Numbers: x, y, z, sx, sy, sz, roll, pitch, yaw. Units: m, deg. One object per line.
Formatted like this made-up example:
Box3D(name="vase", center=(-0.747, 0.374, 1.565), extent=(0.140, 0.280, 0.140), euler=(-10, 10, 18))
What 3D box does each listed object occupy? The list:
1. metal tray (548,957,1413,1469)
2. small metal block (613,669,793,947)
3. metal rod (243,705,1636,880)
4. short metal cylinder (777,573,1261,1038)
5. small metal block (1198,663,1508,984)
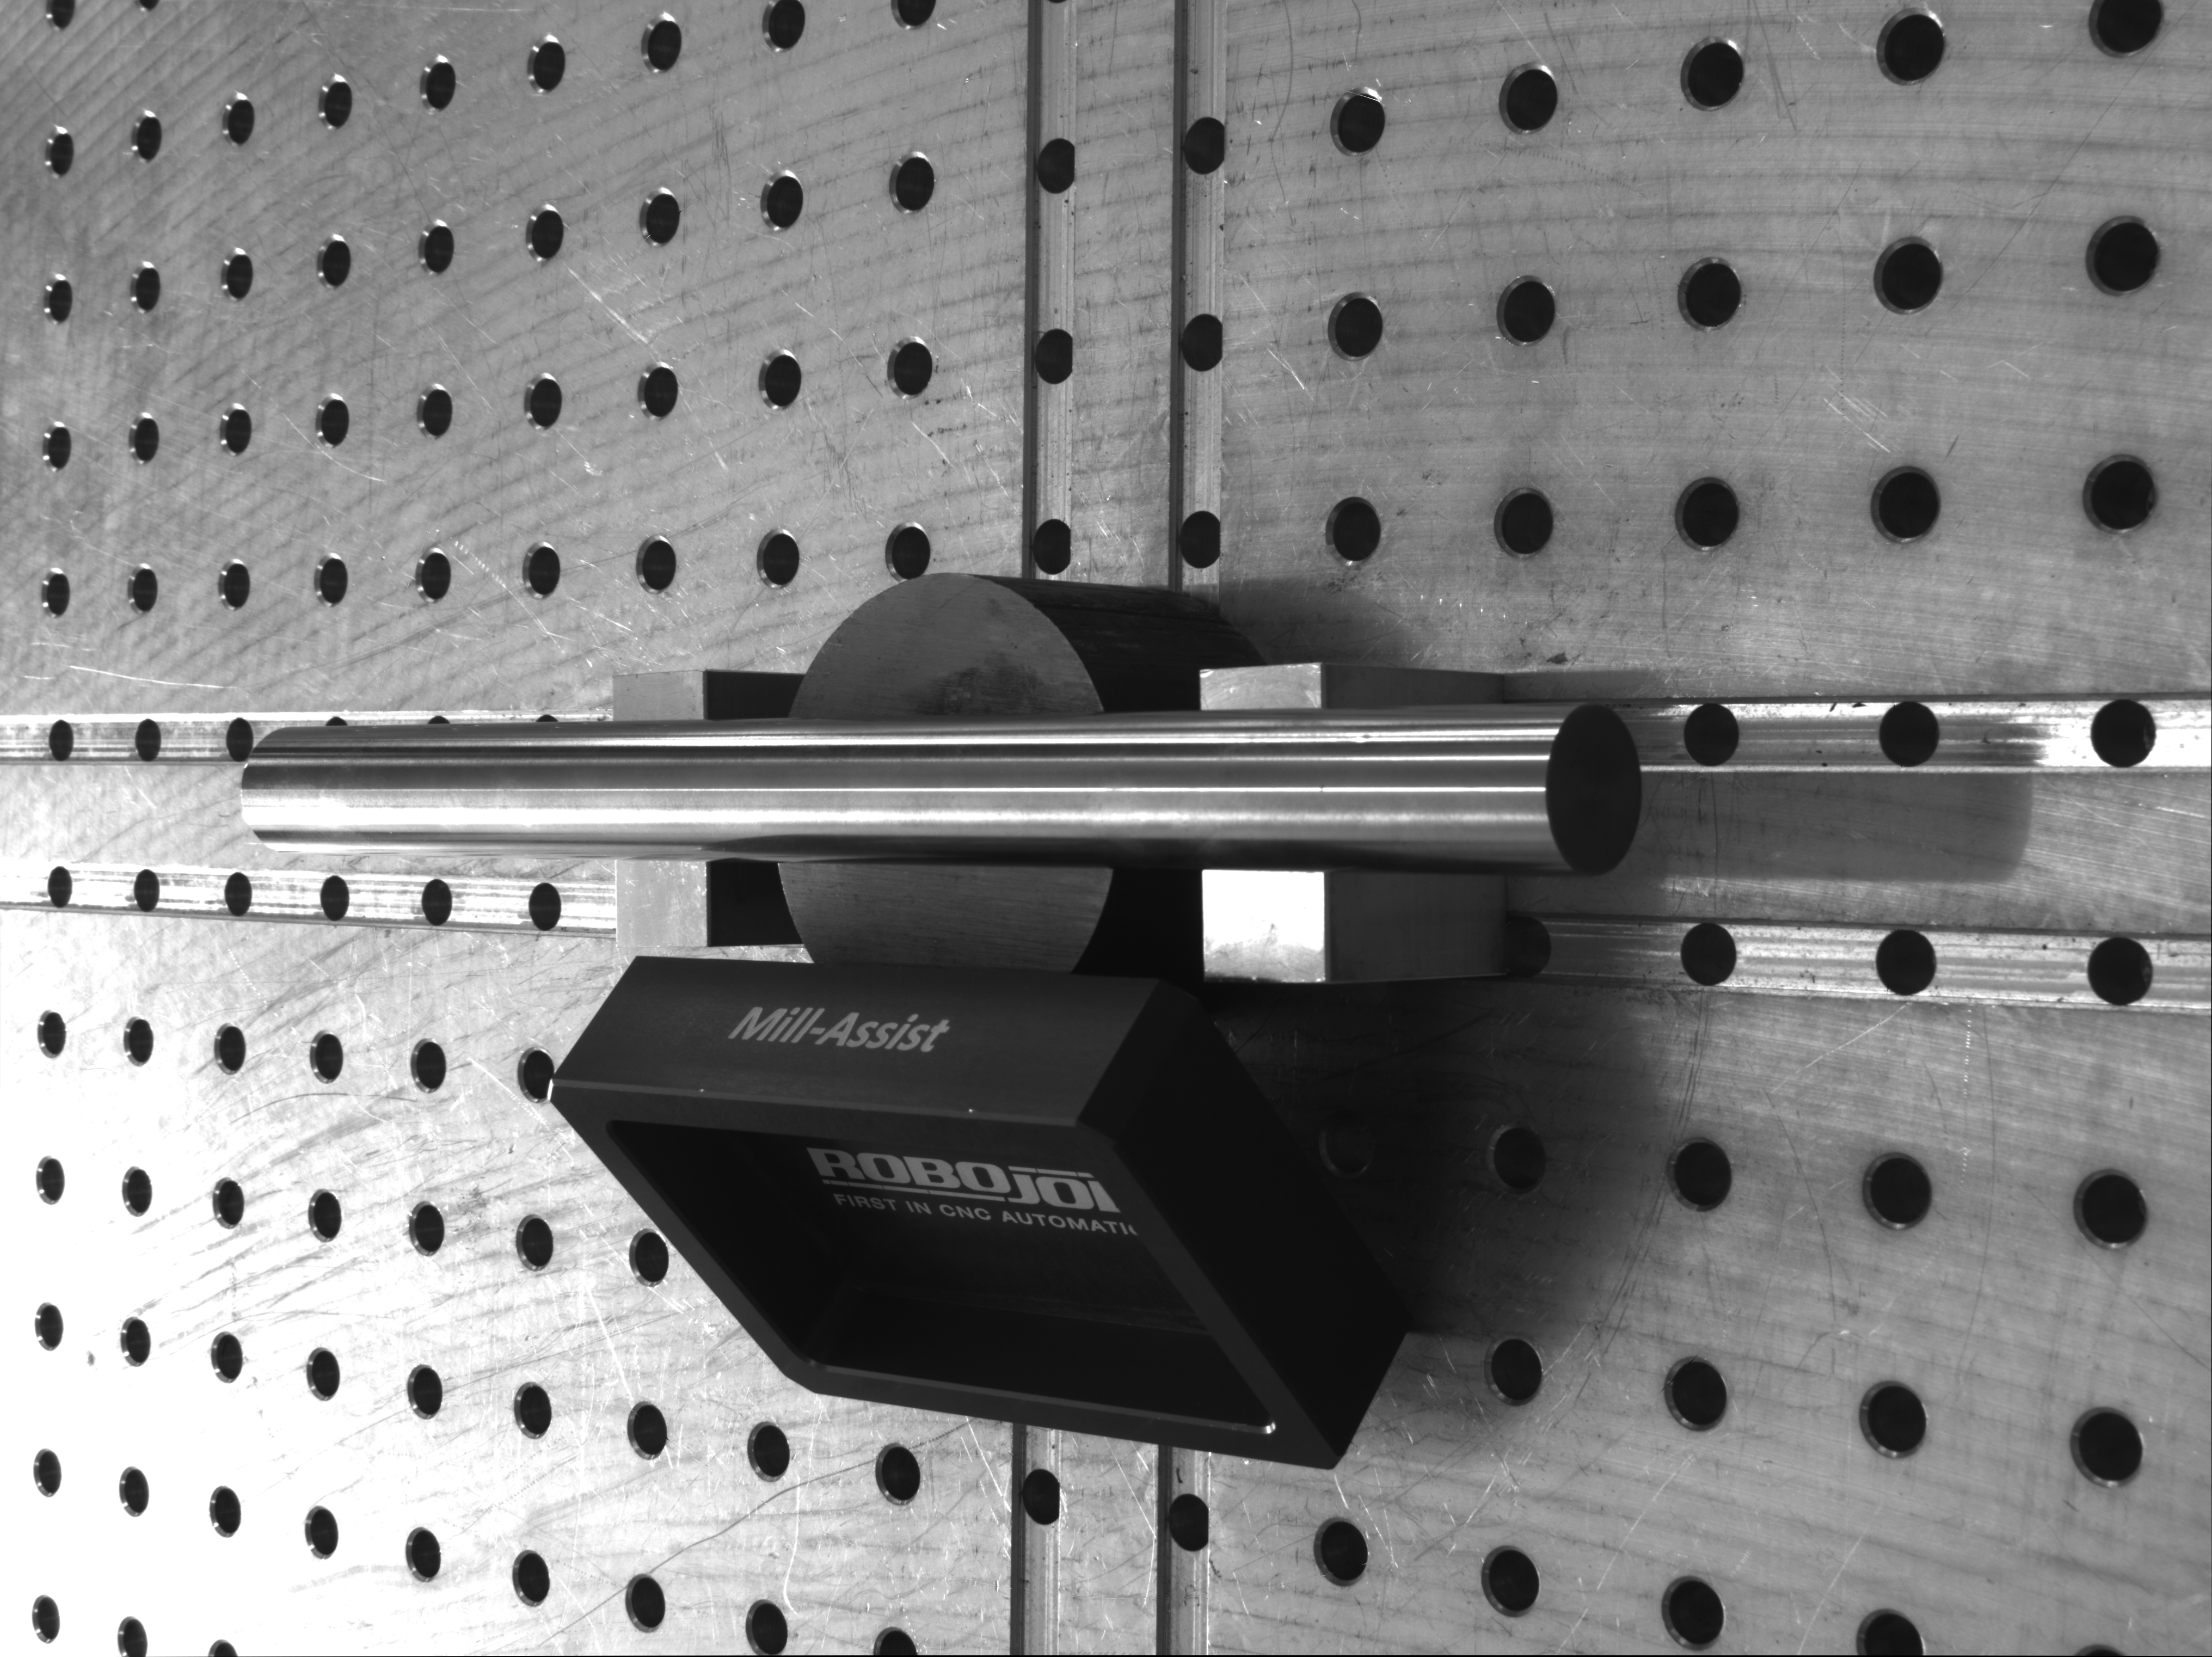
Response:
Box3D(name="metal tray", center=(-0.023, 0.064, 0.628), extent=(0.129, 0.090, 0.030), euler=(0, 47, 40))
Box3D(name="small metal block", center=(-0.065, -0.003, 0.687), extent=(0.025, 0.050, 0.050), euler=(-1, 89, 40))
Box3D(name="metal rod", center=(-0.045, -0.007, 0.620), extent=(0.299, 0.025, 0.025), euler=(1, 90, 41))
Box3D(name="short metal cylinder", center=(-0.012, -0.003, 0.642), extent=(0.080, 0.050, 0.080), euler=(0, 90, 40))
Box3D(name="small metal block", center=(0.041, -0.001, 0.598), extent=(0.025, 0.050, 0.050), euler=(-1, 89, 40))
